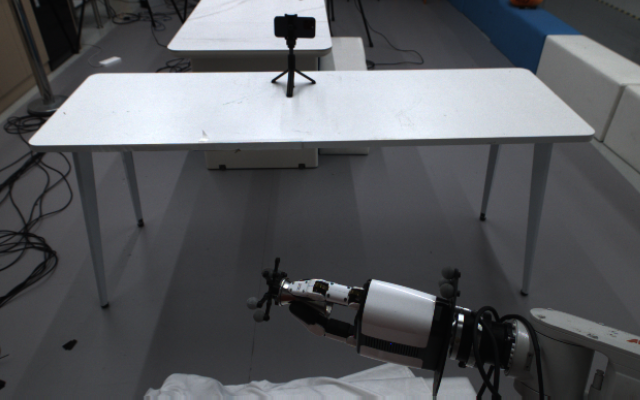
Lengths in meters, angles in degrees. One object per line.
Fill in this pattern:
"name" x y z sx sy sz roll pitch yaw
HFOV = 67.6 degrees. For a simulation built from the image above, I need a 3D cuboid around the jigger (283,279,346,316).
"jigger" -0.012 0.127 0.654 0.071 0.043 0.043 9 35 16
